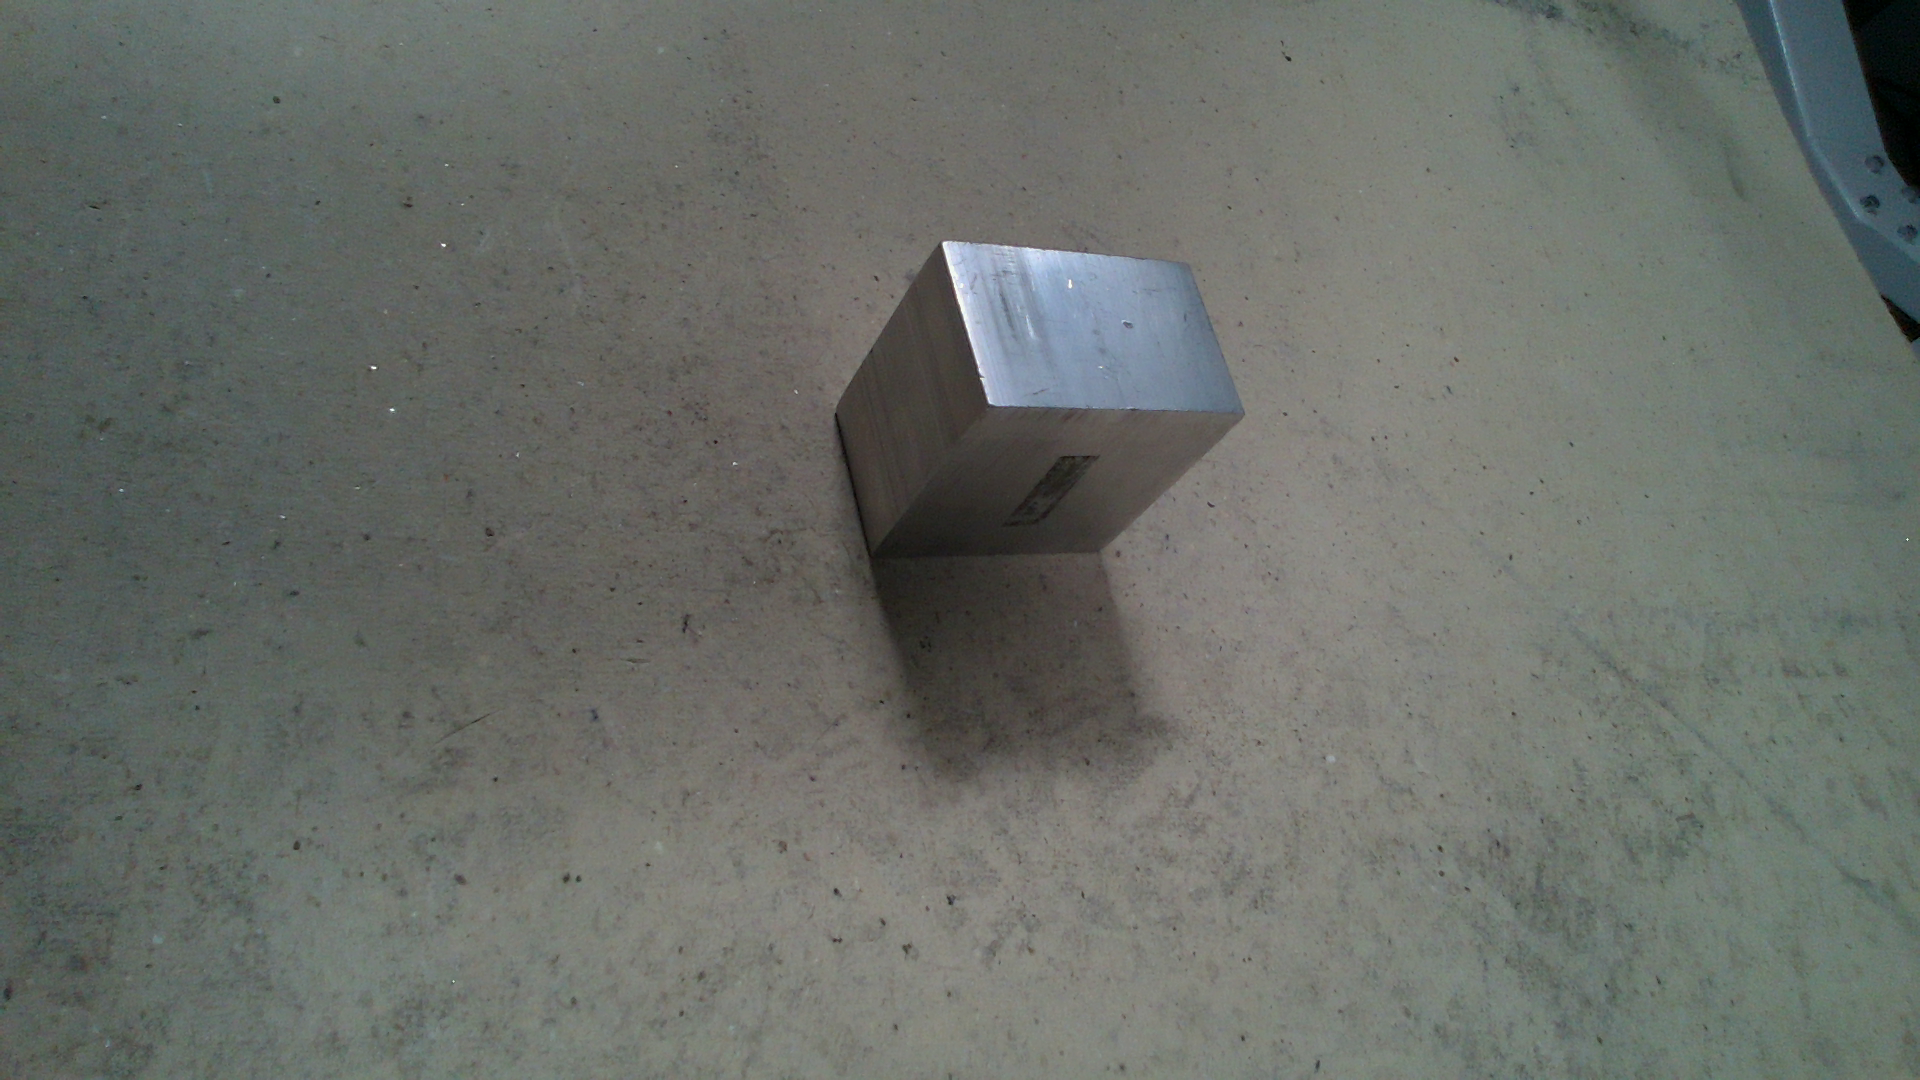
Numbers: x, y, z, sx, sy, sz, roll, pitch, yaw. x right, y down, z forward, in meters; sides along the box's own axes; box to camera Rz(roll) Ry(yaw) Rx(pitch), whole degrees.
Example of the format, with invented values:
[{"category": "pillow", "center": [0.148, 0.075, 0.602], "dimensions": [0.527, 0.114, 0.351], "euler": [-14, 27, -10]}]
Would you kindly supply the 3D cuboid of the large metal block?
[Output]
[{"category": "large metal block", "center": [0.019, -0.036, 0.387], "dimensions": [0.080, 0.080, 0.050], "euler": [-1, 62, -29]}]
